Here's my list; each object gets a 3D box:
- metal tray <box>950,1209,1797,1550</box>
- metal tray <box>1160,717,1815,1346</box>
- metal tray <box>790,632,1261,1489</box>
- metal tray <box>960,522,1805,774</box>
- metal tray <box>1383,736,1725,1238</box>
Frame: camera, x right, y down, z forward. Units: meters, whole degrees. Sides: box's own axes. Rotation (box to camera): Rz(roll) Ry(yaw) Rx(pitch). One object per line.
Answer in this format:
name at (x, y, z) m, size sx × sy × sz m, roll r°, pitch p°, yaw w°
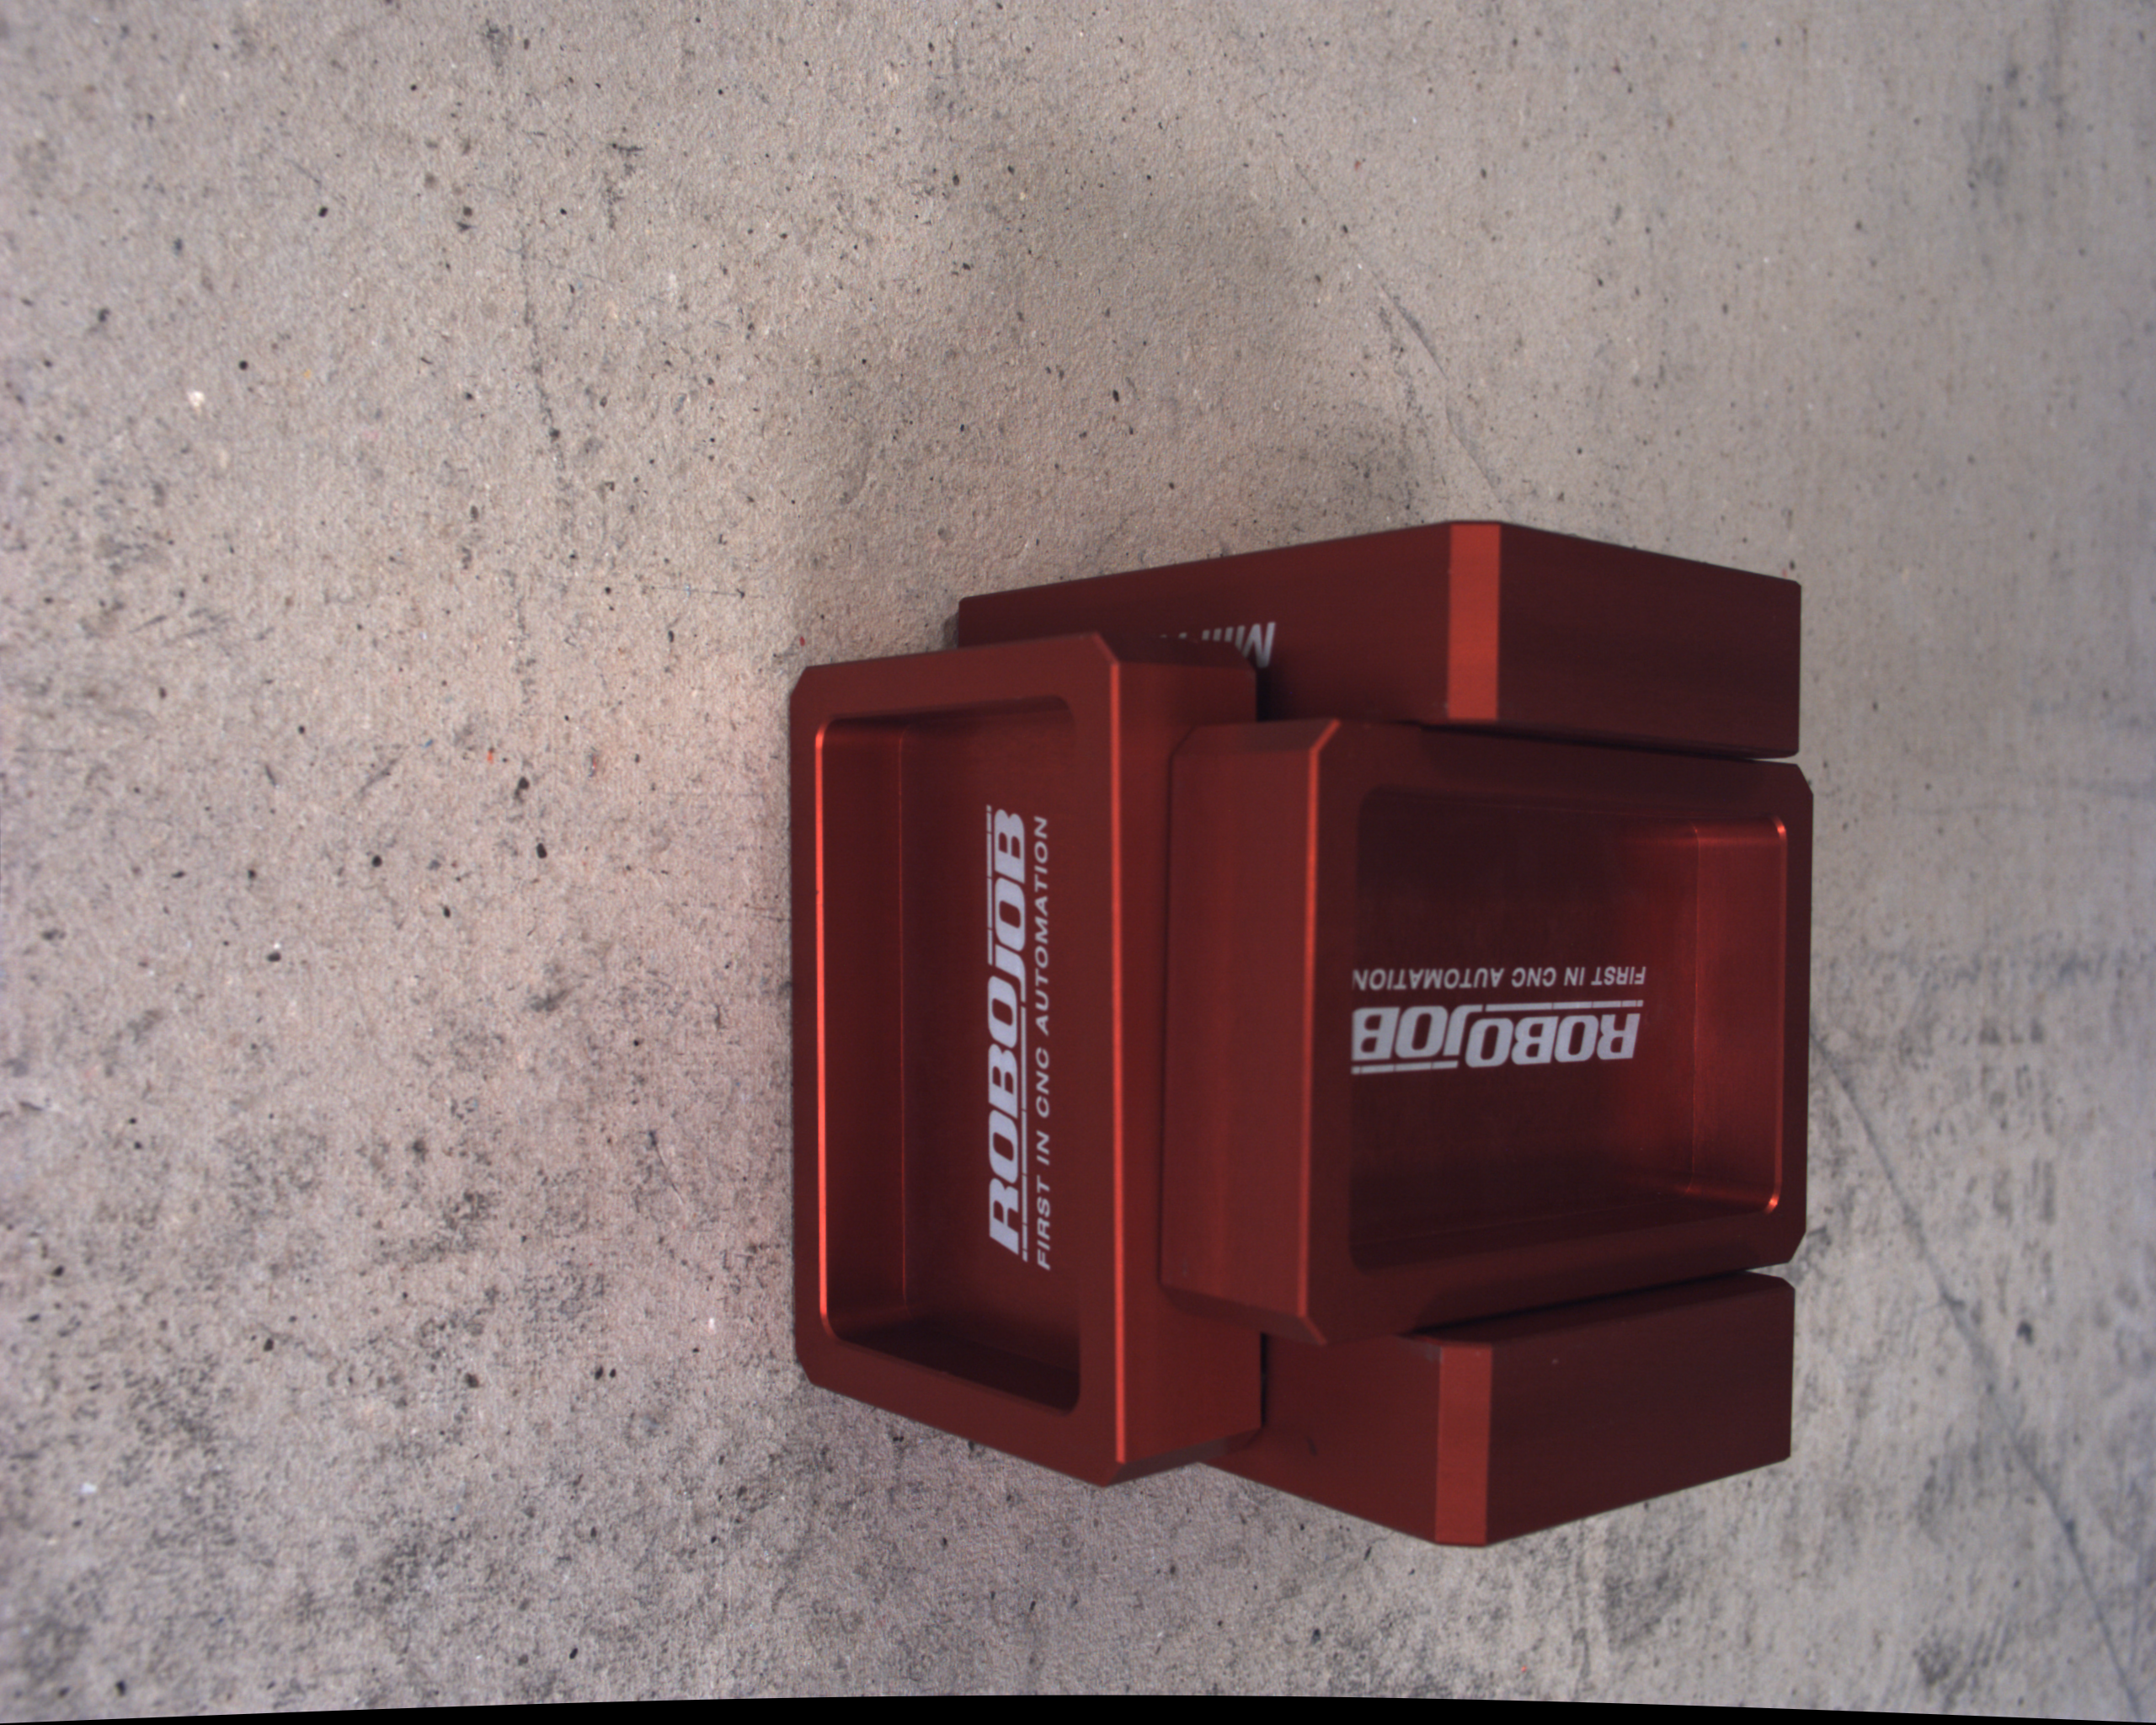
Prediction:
metal tray at (0.049, 0.085, 0.378) m, size 0.091 × 0.130 × 0.030 m, roll 2°, pitch 90°, yaw -40°
metal tray at (0.073, 0.025, 0.346) m, size 0.131 × 0.030 × 0.089 m, roll 2°, pitch 89°, yaw -40°
metal tray at (-0.012, 0.030, 0.353) m, size 0.030 × 0.090 × 0.129 m, roll -1°, pitch 91°, yaw -41°
metal tray at (0.051, -0.034, 0.379) m, size 0.091 × 0.130 × 0.030 m, roll 2°, pitch 89°, yaw -40°
metal tray at (0.088, 0.024, 0.437) m, size 0.030 × 0.090 × 0.129 m, roll 2°, pitch 88°, yaw -39°
